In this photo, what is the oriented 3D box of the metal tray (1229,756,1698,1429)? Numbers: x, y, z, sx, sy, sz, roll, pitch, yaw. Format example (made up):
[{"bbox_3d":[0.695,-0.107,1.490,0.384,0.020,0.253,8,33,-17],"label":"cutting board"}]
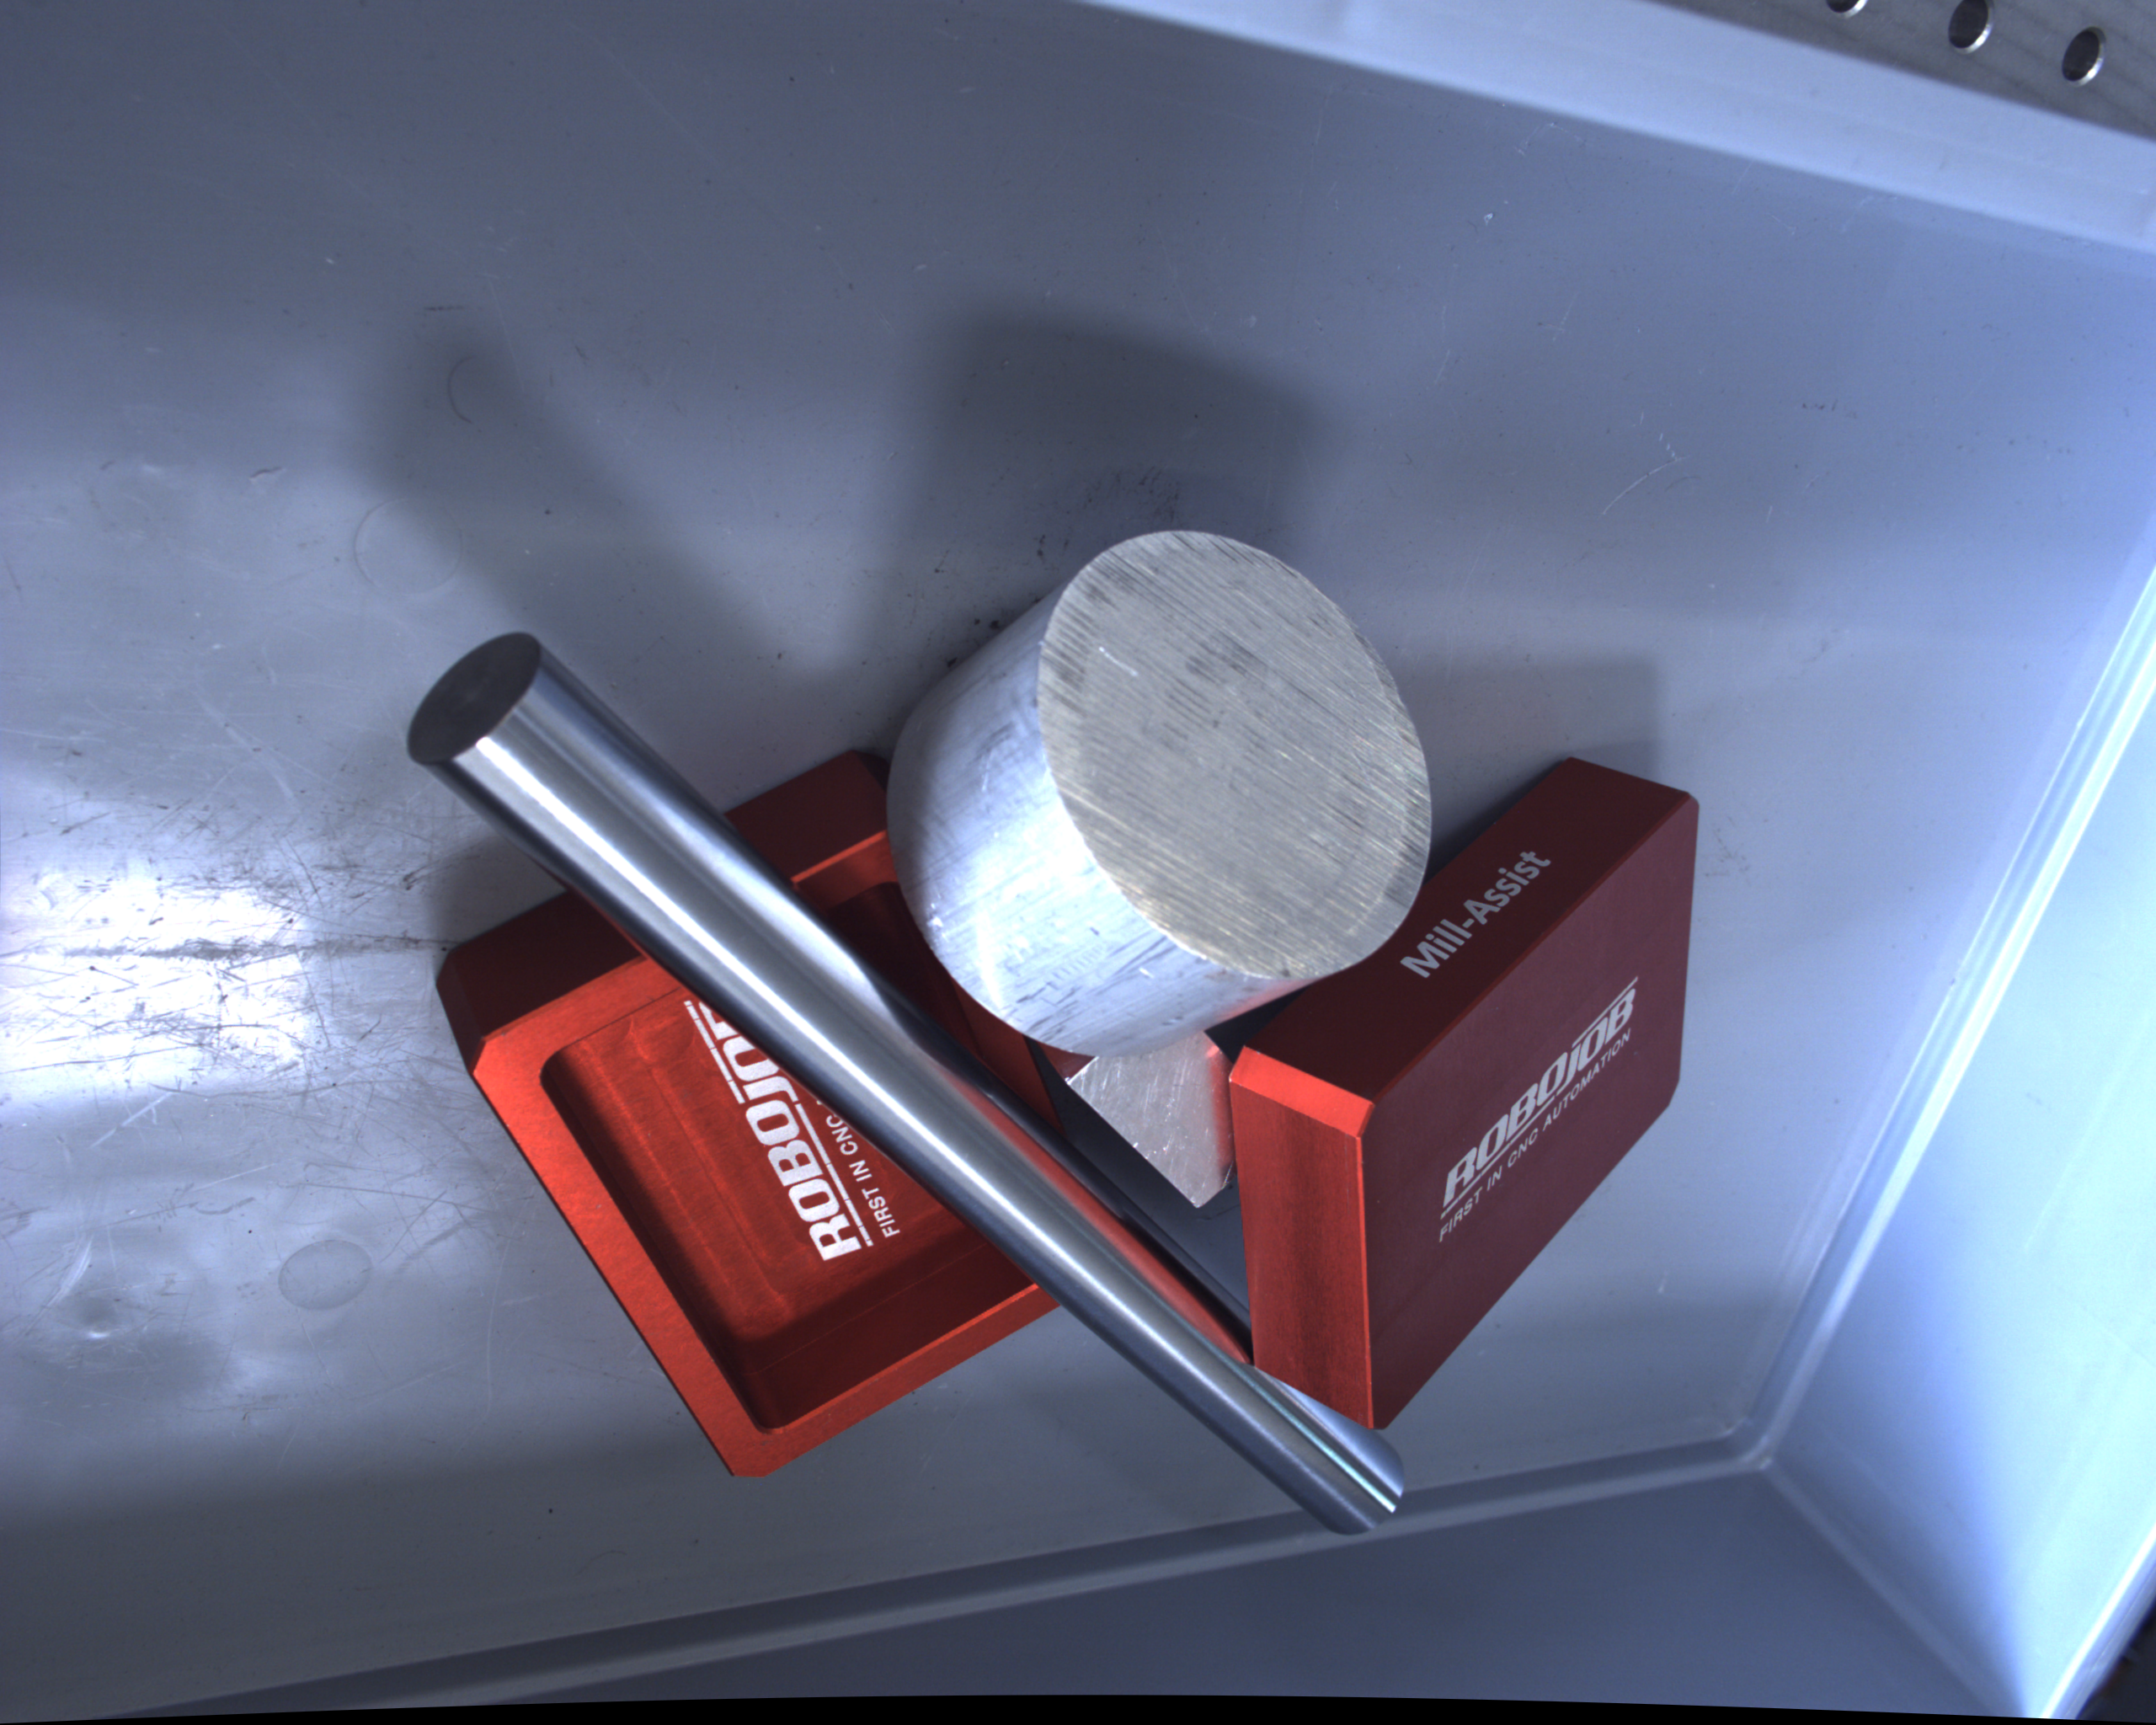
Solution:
[{"bbox_3d":[0.086,0.046,0.446,0.131,0.030,0.089,-37,134,-36],"label":"metal tray"}]

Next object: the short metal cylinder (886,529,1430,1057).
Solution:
[{"bbox_3d":[0.014,-0.011,0.364,0.081,0.080,0.050,8,156,-32],"label":"short metal cylinder"}]

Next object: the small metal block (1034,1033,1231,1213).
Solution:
[{"bbox_3d":[0.010,0.035,0.417,0.025,0.050,0.050,-42,130,0],"label":"small metal block"}]

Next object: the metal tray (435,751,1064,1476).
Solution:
[{"bbox_3d":[-0.053,0.053,0.406,0.090,0.030,0.129,-28,128,-11],"label":"metal tray"}]

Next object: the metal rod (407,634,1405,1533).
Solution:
[{"bbox_3d":[-0.011,0.062,0.400,0.025,0.025,0.300,-42,130,0],"label":"metal rod"}]
